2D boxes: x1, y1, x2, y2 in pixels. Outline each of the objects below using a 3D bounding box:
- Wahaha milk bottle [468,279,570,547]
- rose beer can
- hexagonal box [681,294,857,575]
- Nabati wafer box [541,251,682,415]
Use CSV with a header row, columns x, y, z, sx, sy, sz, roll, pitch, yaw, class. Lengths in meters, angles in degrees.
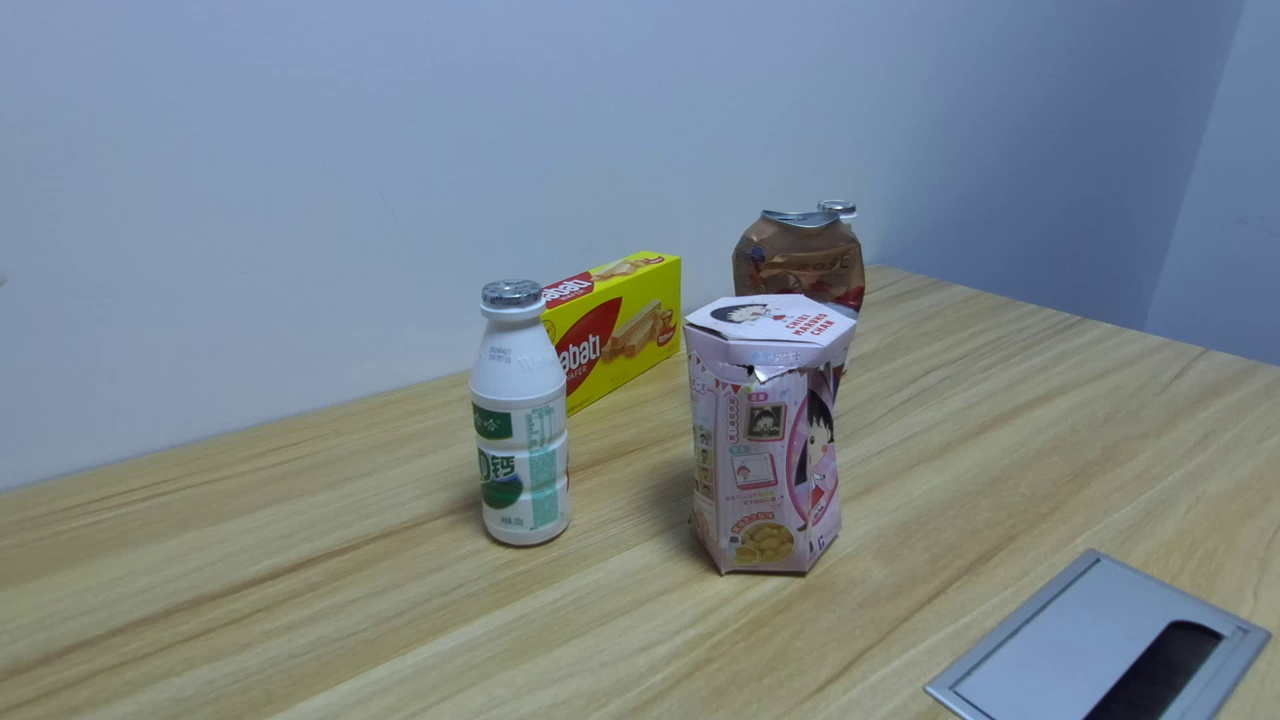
x,y,z,sx,sy,sz,roll,pitch,yaw,class
-0.067,0.031,0.395,0.053,0.147,0.053,-1,23,1,Wahaha milk bottle
0.107,-0.023,0.496,0.074,0.162,0.067,-15,28,-34,rose beer can
0.066,0.040,0.388,0.091,0.134,0.090,-7,21,-13,hexagonal box
-0.033,-0.022,0.587,0.042,0.093,0.203,14,27,33,Nabati wafer box
